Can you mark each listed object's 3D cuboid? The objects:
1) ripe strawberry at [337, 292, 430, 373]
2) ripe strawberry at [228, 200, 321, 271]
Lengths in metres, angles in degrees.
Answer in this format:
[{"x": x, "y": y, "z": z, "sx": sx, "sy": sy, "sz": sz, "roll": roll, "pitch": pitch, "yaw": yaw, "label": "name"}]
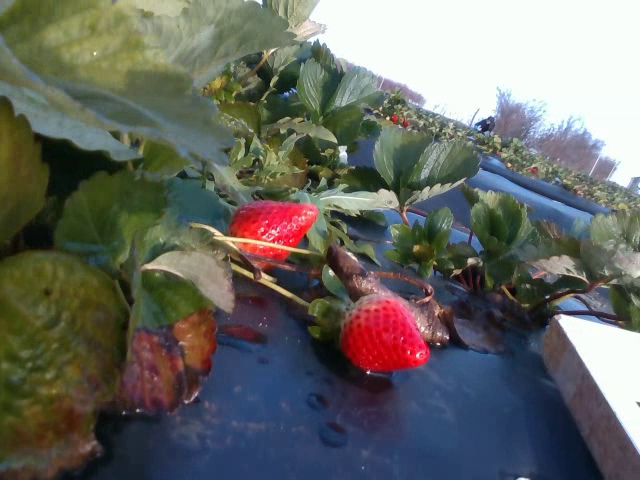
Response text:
[{"x": 0.025, "y": 0.037, "z": 0.232, "sx": 0.035, "sy": 0.030, "sz": 0.043, "roll": -3, "pitch": 27, "yaw": -39, "label": "ripe strawberry"}, {"x": -0.023, "y": -0.010, "z": 0.292, "sx": 0.048, "sy": 0.032, "sz": 0.040, "roll": -28, "pitch": 31, "yaw": 2, "label": "ripe strawberry"}]
